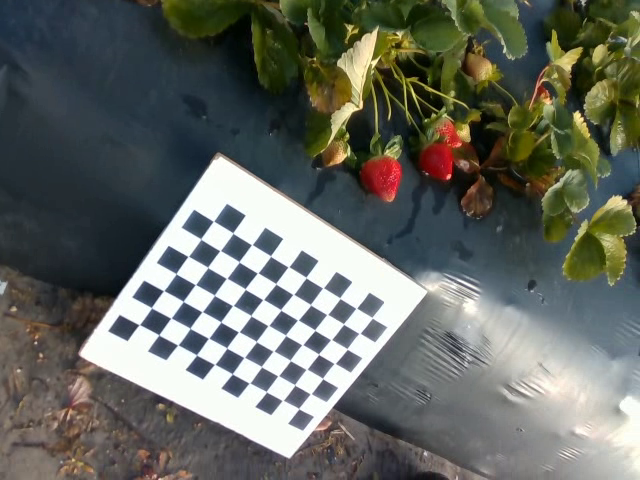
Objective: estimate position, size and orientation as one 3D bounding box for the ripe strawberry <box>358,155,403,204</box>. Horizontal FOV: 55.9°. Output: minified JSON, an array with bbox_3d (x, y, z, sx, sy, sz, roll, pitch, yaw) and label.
[{"bbox_3d":[0.071,-0.068,0.661,0.050,0.065,0.050,-5,-35,-5],"label":"ripe strawberry"}]

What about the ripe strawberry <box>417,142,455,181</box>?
[{"bbox_3d":[0.140,-0.091,0.707,0.044,0.055,0.042,-28,-30,3],"label":"ripe strawberry"}]
